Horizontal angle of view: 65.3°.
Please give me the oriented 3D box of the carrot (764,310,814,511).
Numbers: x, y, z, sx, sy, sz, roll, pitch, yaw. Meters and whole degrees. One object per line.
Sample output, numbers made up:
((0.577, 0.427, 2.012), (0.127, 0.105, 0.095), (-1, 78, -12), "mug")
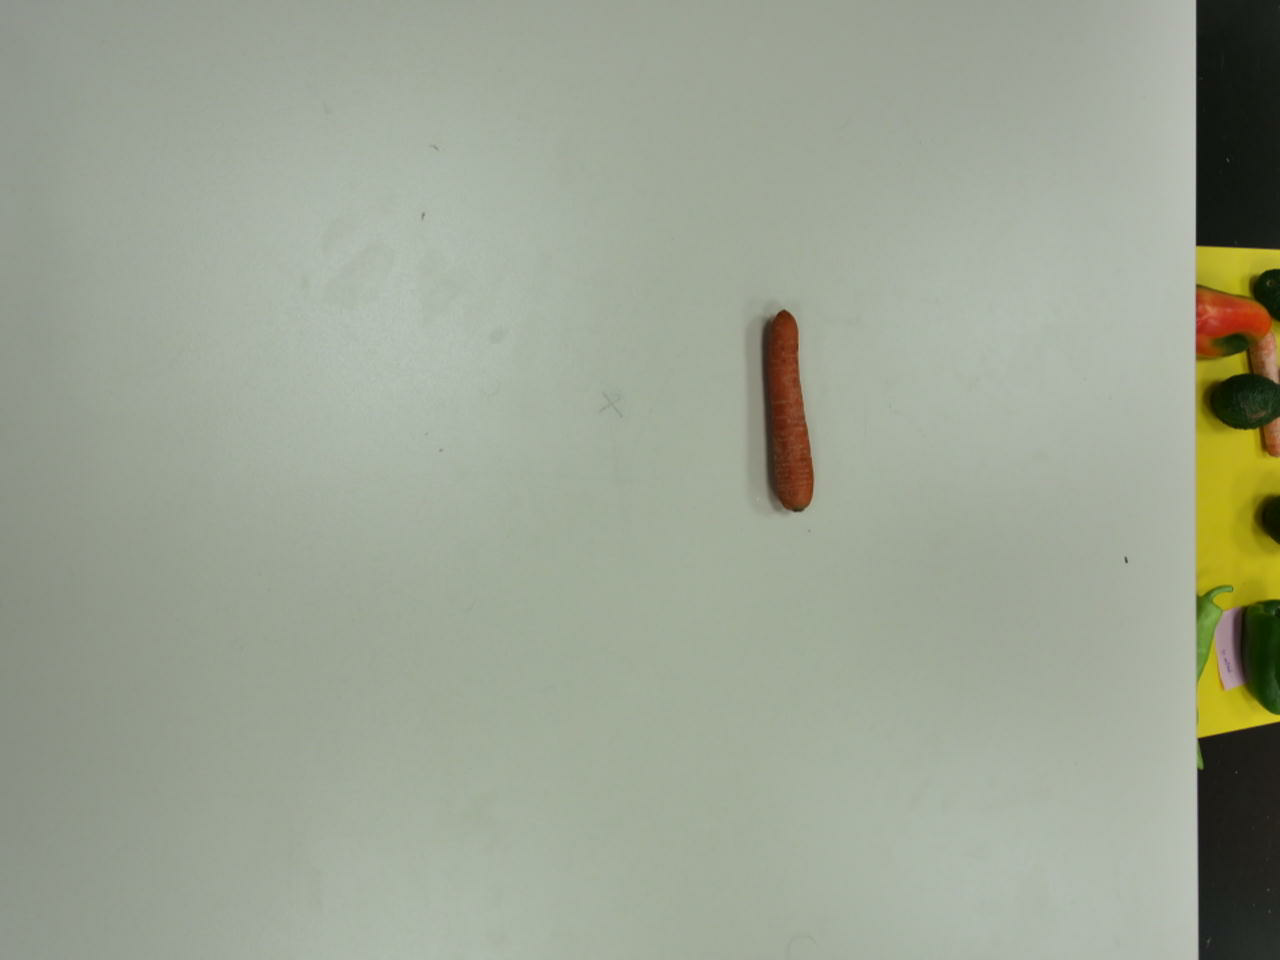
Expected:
((0.089, -0.041, 0.600), (0.024, 0.023, 0.122), (-4, 92, -22), "carrot")
